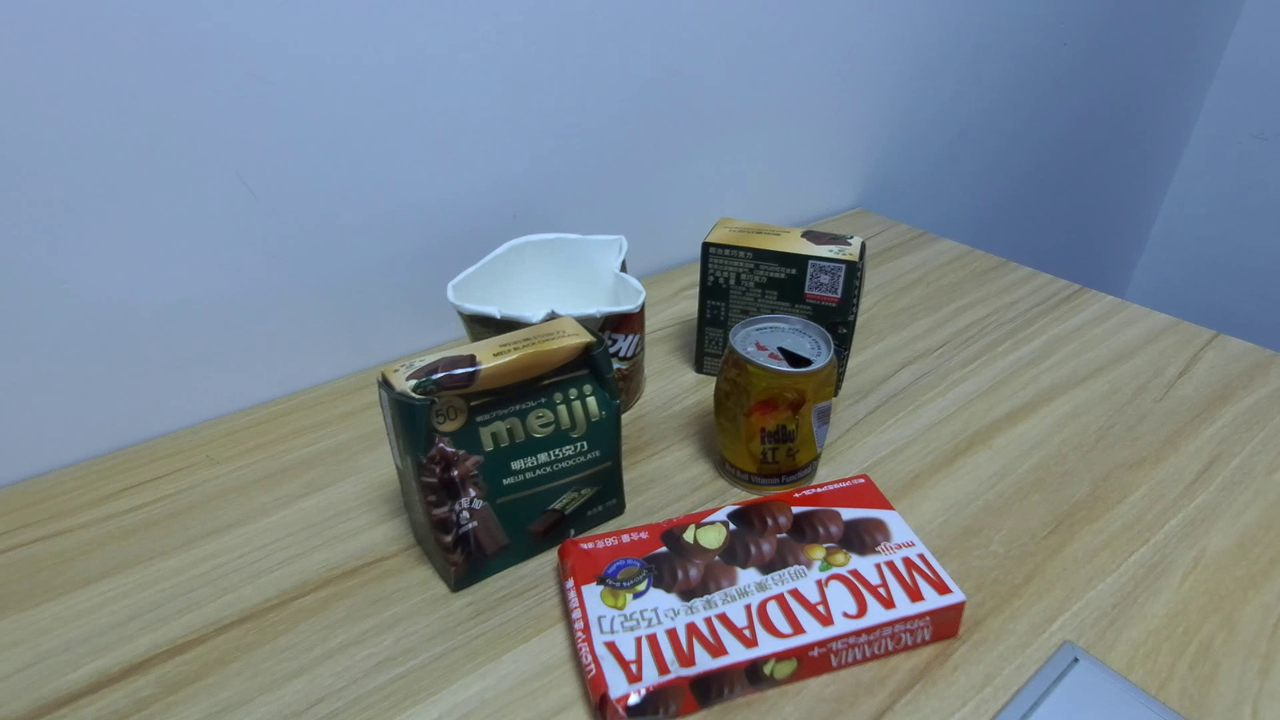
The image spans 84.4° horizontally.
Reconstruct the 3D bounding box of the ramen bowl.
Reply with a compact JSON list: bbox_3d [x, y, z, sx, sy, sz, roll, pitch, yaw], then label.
[{"bbox_3d":[-0.062,-0.021,0.495,0.134,0.097,0.113,-6,34,-13],"label":"ramen bowl"}]

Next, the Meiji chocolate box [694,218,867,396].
[{"bbox_3d":[0.102,-0.040,0.514,0.113,0.111,0.058,10,33,17],"label":"Meiji chocolate box"}]

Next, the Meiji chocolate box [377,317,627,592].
[{"bbox_3d":[-0.068,0.045,0.383,0.118,0.117,0.051,-19,28,-28],"label":"Meiji chocolate box"}]

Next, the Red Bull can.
[{"bbox_3d":[0.079,0.027,0.423,0.072,0.092,0.072,1,33,0],"label":"Red Bull can"}]

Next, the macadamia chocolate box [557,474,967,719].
[{"bbox_3d":[0.056,0.112,0.354,0.183,0.028,0.105,-10,33,-13],"label":"macadamia chocolate box"}]
